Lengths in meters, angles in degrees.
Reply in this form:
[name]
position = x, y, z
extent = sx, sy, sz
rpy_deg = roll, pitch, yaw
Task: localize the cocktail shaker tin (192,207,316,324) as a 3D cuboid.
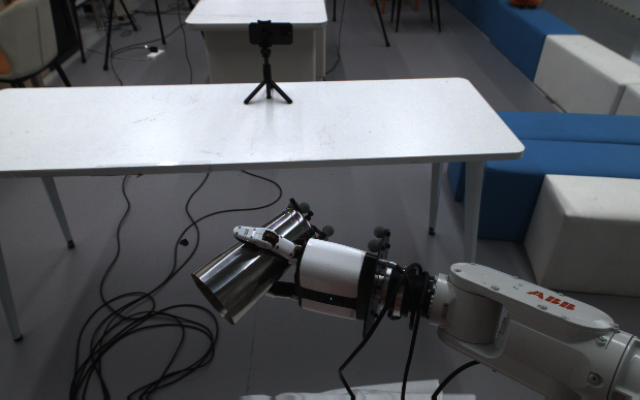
[cocktail shaker tin]
position = -0.088, 0.084, 0.698
extent = 0.170, 0.093, 0.093
rpy_deg = -38, 49, -24
